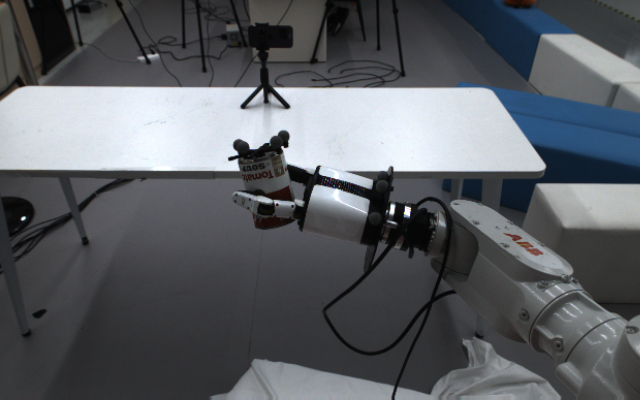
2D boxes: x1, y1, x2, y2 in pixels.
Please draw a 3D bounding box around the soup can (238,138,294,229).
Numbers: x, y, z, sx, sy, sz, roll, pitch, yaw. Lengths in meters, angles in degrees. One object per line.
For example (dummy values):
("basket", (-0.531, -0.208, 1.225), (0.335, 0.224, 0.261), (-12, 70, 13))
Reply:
("soup can", (-0.073, -0.016, 0.696), (0.067, 0.101, 0.067), (-13, 17, 4))
